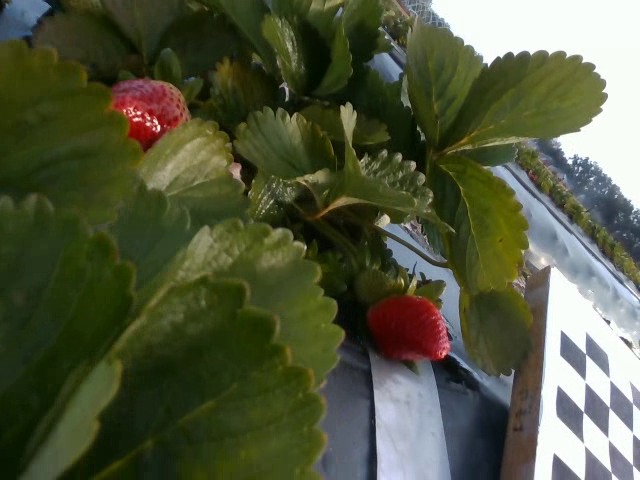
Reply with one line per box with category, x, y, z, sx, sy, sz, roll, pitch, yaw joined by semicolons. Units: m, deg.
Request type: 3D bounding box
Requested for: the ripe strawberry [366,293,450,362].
ripe strawberry;0.048;0.044;0.273;0.035;0.050;0.055;-37;18;18
